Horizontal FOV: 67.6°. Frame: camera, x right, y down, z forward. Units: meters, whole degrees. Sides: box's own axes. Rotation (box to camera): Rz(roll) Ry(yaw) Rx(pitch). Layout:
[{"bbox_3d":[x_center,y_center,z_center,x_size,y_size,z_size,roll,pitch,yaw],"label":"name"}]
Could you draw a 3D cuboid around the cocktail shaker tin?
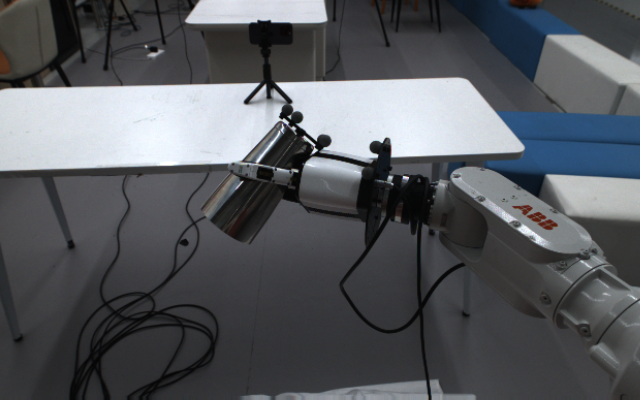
[{"bbox_3d":[-0.085,-0.033,0.712,0.170,0.093,0.093,-50,46,4],"label":"cocktail shaker tin"}]
